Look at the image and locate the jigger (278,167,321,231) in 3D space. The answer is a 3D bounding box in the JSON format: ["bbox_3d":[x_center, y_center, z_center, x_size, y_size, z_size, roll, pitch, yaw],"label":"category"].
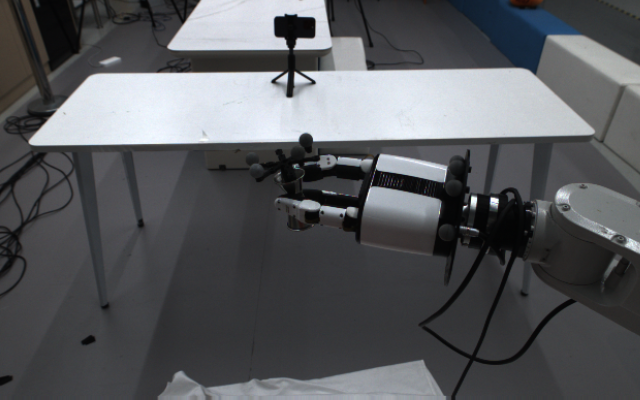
[{"bbox_3d":[-0.028,0.000,0.603,0.043,0.071,0.043,-12,29,7],"label":"jigger"}]
